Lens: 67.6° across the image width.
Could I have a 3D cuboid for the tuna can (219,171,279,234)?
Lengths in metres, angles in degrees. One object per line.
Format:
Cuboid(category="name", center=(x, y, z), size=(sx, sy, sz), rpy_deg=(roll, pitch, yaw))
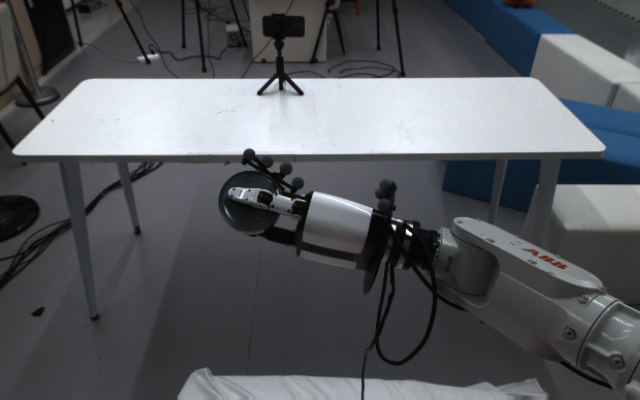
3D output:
Cuboid(category="tuna can", center=(-0.094, 0.005, 0.666), size=(0.085, 0.034, 0.085), rpy_deg=(1, 76, -4))
